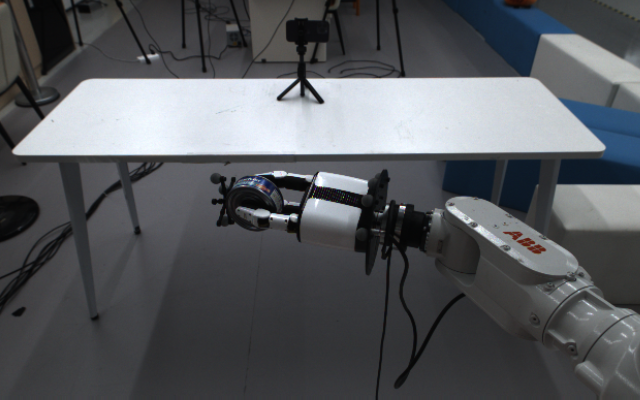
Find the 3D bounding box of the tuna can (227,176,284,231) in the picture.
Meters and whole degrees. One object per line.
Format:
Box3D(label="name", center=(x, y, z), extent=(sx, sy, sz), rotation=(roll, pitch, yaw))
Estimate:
Box3D(label="tuna can", center=(-0.100, 0.005, 0.752), extent=(0.085, 0.085, 0.034), rotation=(9, 34, 10))
